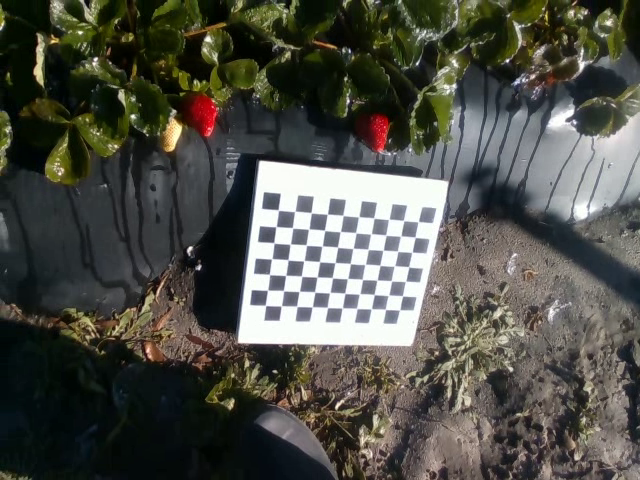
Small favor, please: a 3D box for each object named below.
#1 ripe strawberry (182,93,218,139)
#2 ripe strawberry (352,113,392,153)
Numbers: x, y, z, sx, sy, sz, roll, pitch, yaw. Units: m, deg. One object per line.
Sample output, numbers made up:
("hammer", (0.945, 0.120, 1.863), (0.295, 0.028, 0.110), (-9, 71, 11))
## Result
("ripe strawberry", (-0.145, -0.149, 0.709), (0.042, 0.061, 0.046), (-10, -21, -14))
("ripe strawberry", (0.075, -0.146, 0.771), (0.048, 0.061, 0.044), (-3, -13, -16))
